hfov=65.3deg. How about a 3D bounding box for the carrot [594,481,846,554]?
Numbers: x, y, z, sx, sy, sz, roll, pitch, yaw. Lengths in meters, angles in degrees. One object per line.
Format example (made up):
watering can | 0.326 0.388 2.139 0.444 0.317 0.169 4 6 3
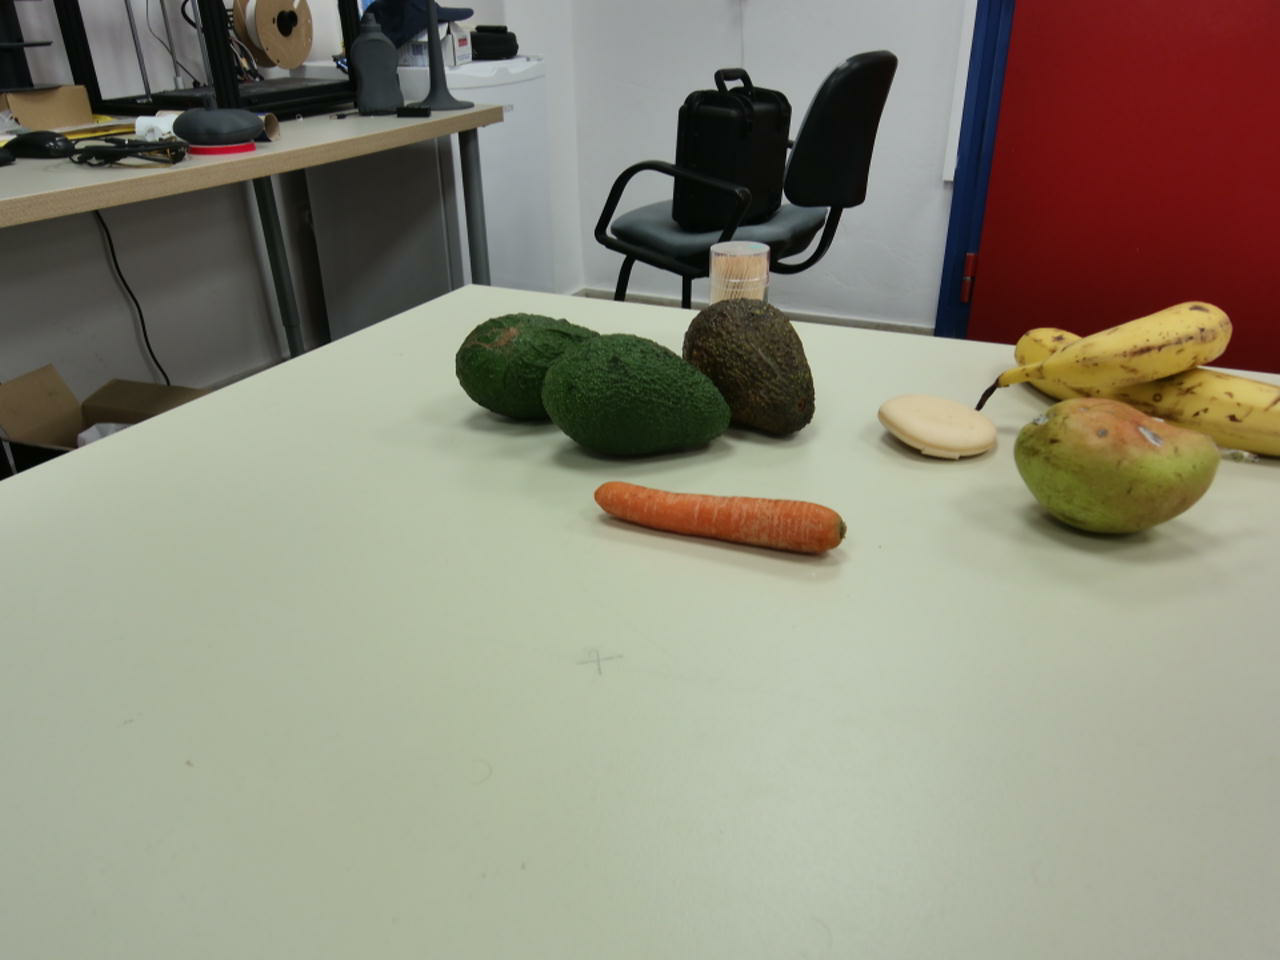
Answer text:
carrot | 0.035 0.015 0.466 0.122 0.023 0.024 9 25 21
